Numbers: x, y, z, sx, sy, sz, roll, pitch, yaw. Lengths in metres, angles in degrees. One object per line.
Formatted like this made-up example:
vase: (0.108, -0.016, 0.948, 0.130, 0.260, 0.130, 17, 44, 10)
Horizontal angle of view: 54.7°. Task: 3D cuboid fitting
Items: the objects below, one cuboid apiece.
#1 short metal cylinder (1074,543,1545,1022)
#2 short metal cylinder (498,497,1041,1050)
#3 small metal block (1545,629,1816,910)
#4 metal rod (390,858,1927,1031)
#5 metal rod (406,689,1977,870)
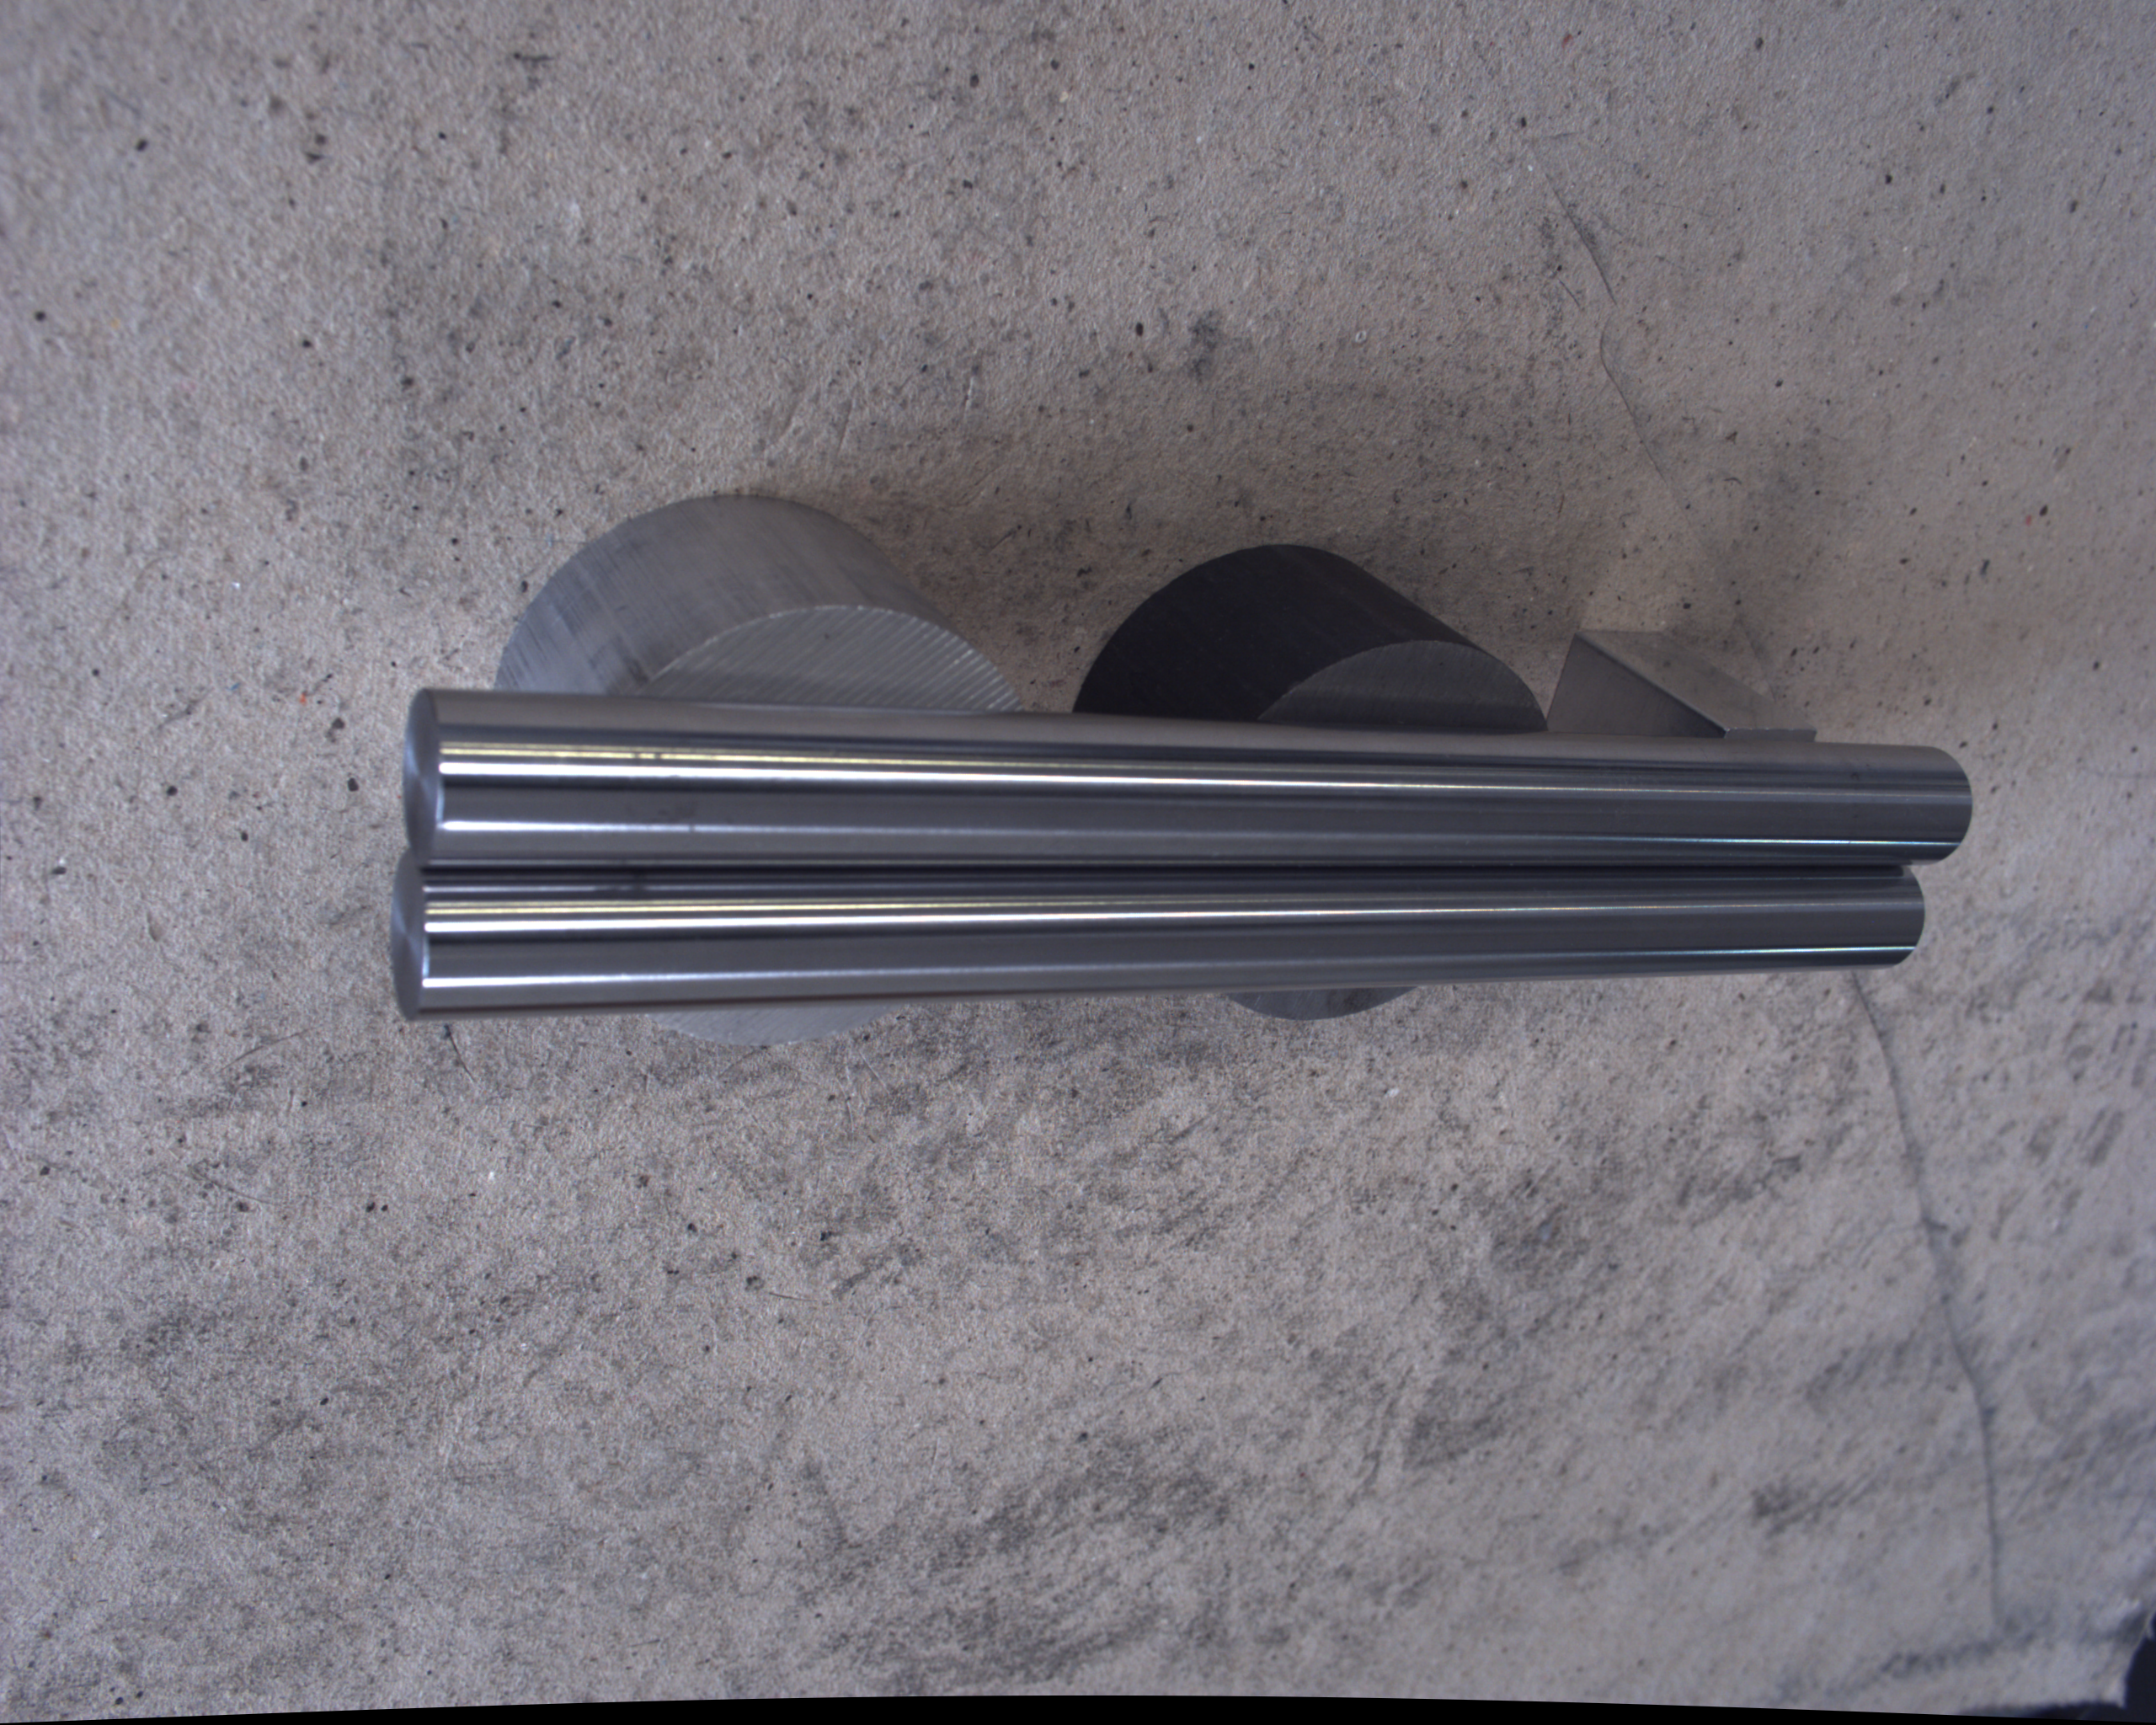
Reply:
short metal cylinder: (0.044, -0.016, 0.407, 0.081, 0.050, 0.079, -14, 124, -21)
short metal cylinder: (-0.052, -0.015, 0.353, 0.081, 0.050, 0.079, -14, 124, -21)
small metal block: (0.124, -0.018, 0.451, 0.025, 0.050, 0.050, -2, 119, -28)
metal rod: (0.037, 0.011, 0.370, 0.303, 0.025, 0.025, 0, 119, -29)
metal rod: (0.043, -0.011, 0.359, 0.303, 0.025, 0.025, 0, 119, -29)
